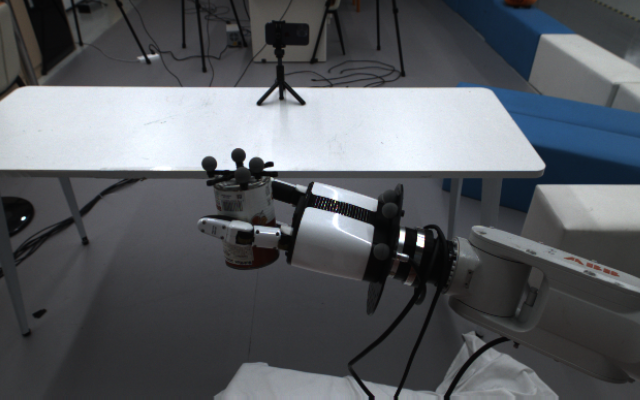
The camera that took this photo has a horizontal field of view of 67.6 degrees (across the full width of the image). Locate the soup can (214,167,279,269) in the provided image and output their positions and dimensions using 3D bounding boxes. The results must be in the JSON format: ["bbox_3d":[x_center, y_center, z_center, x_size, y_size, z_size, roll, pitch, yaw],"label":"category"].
[{"bbox_3d":[-0.084,0.023,0.570,0.067,0.101,0.067,-4,21,1],"label":"soup can"}]
